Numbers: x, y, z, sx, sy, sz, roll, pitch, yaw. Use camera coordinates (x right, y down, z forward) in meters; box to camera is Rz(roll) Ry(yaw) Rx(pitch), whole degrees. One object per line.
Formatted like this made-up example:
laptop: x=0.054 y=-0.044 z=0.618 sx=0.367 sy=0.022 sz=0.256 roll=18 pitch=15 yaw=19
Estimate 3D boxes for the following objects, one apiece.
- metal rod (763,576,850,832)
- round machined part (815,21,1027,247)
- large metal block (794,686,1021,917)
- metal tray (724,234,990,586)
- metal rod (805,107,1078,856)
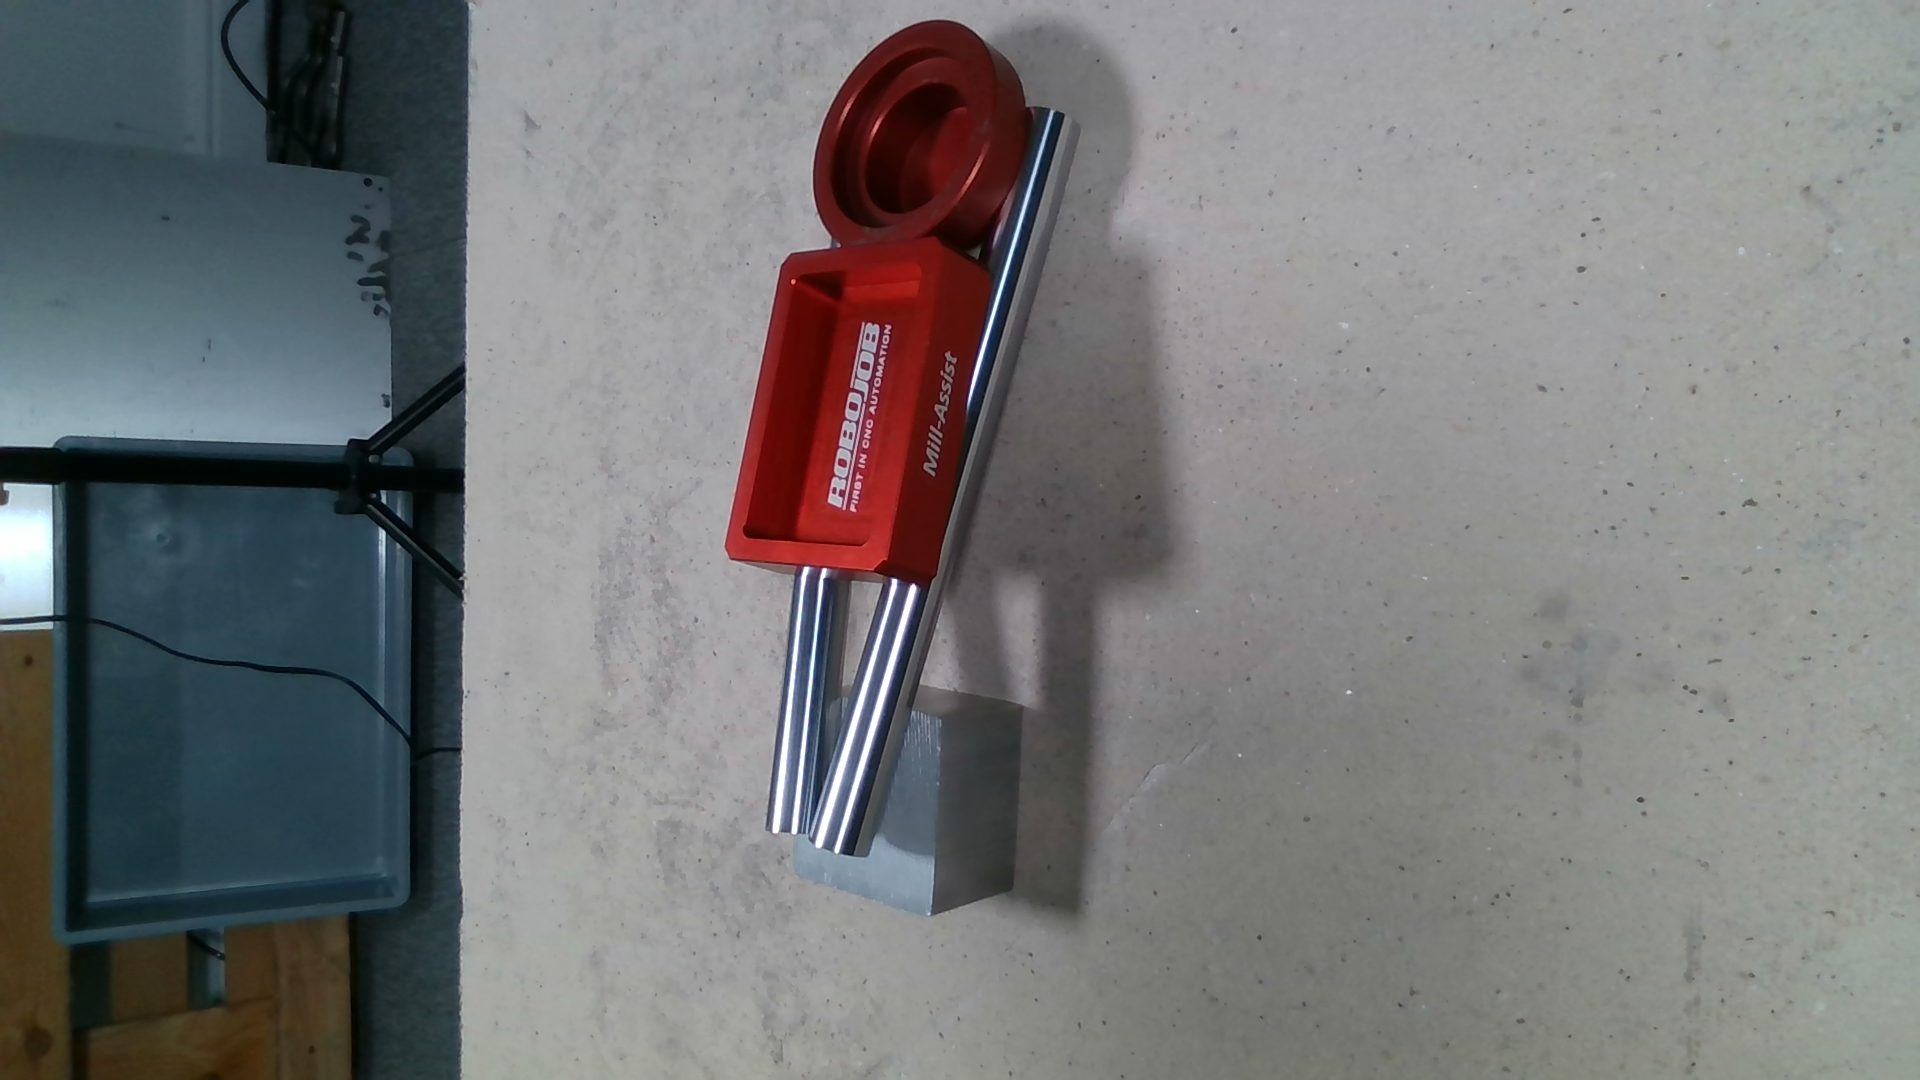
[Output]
metal rod: x=-0.055 y=-0.028 z=0.586 sx=0.025 sy=0.025 sz=0.299 roll=-5 pitch=74 yaw=40
round machined part: x=-0.011 y=-0.159 z=0.571 sx=0.098 sy=0.042 sz=0.098 roll=-11 pitch=73 yaw=38
large metal block: x=-0.023 y=0.106 z=0.584 sx=0.080 sy=0.050 sz=0.080 roll=5 pitch=94 yaw=40
metal tray: x=-0.042 y=-0.051 z=0.546 sx=0.090 sy=0.030 sz=0.130 roll=4 pitch=80 yaw=40
metal rod: x=-0.007 y=-0.024 z=0.545 sx=0.025 sy=0.025 sz=0.300 roll=14 pitch=87 yaw=39
